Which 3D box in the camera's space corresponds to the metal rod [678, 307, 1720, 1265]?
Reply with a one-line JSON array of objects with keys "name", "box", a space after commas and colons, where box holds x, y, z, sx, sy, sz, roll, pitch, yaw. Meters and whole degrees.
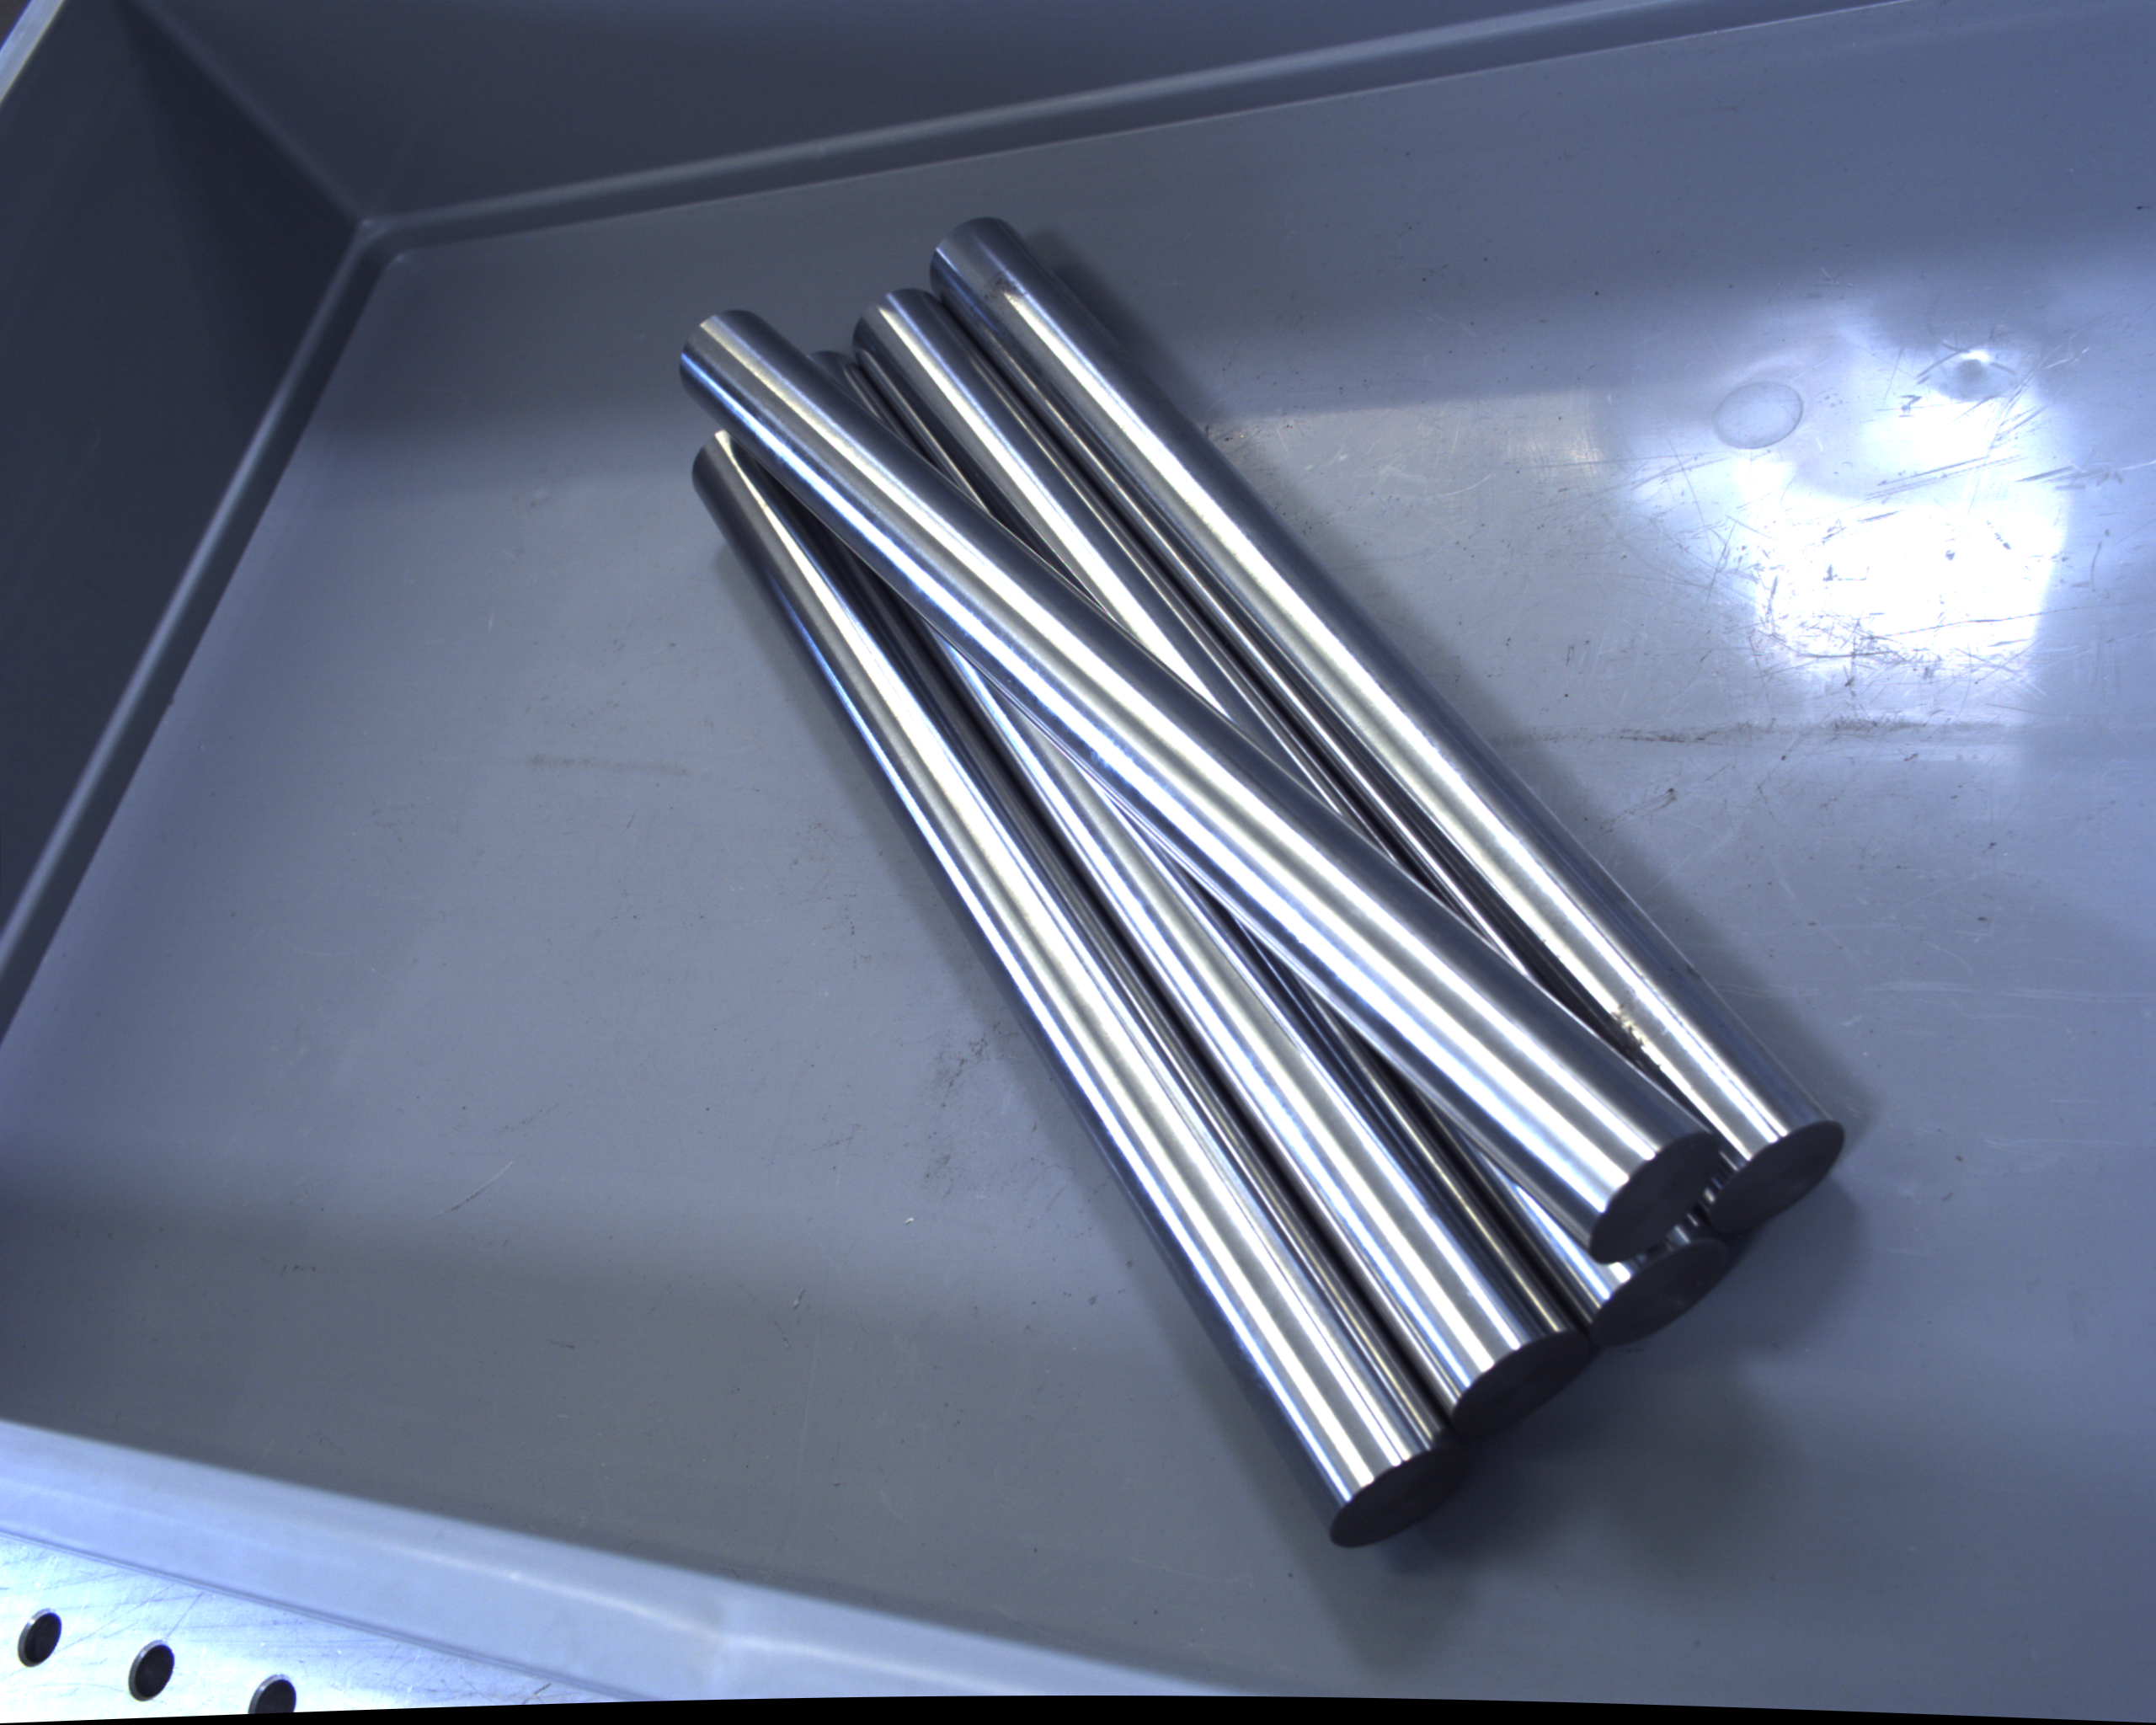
[{"name": "metal rod", "box": [0.000, -0.035, 0.392, 0.025, 0.025, 0.300, -43, 51, -2]}]

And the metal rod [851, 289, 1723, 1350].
[{"name": "metal rod", "box": [0.022, -0.031, 0.411, 0.025, 0.025, 0.300, -37, 51, 4]}]

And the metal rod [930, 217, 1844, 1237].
[{"name": "metal rod", "box": [0.041, -0.048, 0.412, 0.025, 0.025, 0.300, -37, 51, 4]}]

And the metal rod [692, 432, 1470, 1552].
[{"name": "metal rod", "box": [-0.016, 0.001, 0.412, 0.025, 0.025, 0.300, -37, 51, 4]}]

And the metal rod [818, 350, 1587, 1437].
[{"name": "metal rod", "box": [0.002, -0.017, 0.413, 0.025, 0.025, 0.300, -37, 51, 4]}]
